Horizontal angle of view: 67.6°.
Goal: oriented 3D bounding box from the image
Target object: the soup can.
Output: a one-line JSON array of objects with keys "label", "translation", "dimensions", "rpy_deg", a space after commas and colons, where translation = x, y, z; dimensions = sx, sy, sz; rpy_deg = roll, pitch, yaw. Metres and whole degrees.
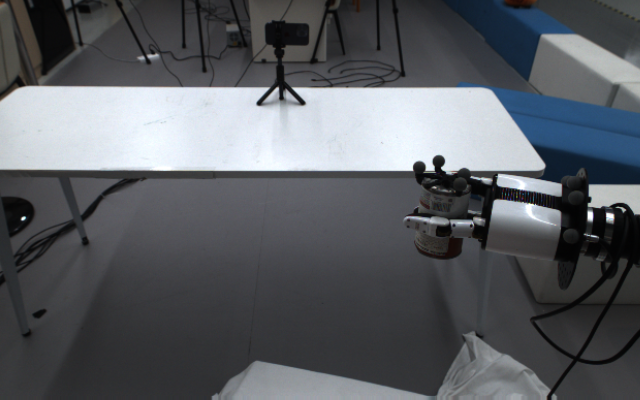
[{"label": "soup can", "translation": [0.172, 0.022, 0.677], "dimensions": [0.067, 0.101, 0.067], "rpy_deg": [1, 26, 0]}]
